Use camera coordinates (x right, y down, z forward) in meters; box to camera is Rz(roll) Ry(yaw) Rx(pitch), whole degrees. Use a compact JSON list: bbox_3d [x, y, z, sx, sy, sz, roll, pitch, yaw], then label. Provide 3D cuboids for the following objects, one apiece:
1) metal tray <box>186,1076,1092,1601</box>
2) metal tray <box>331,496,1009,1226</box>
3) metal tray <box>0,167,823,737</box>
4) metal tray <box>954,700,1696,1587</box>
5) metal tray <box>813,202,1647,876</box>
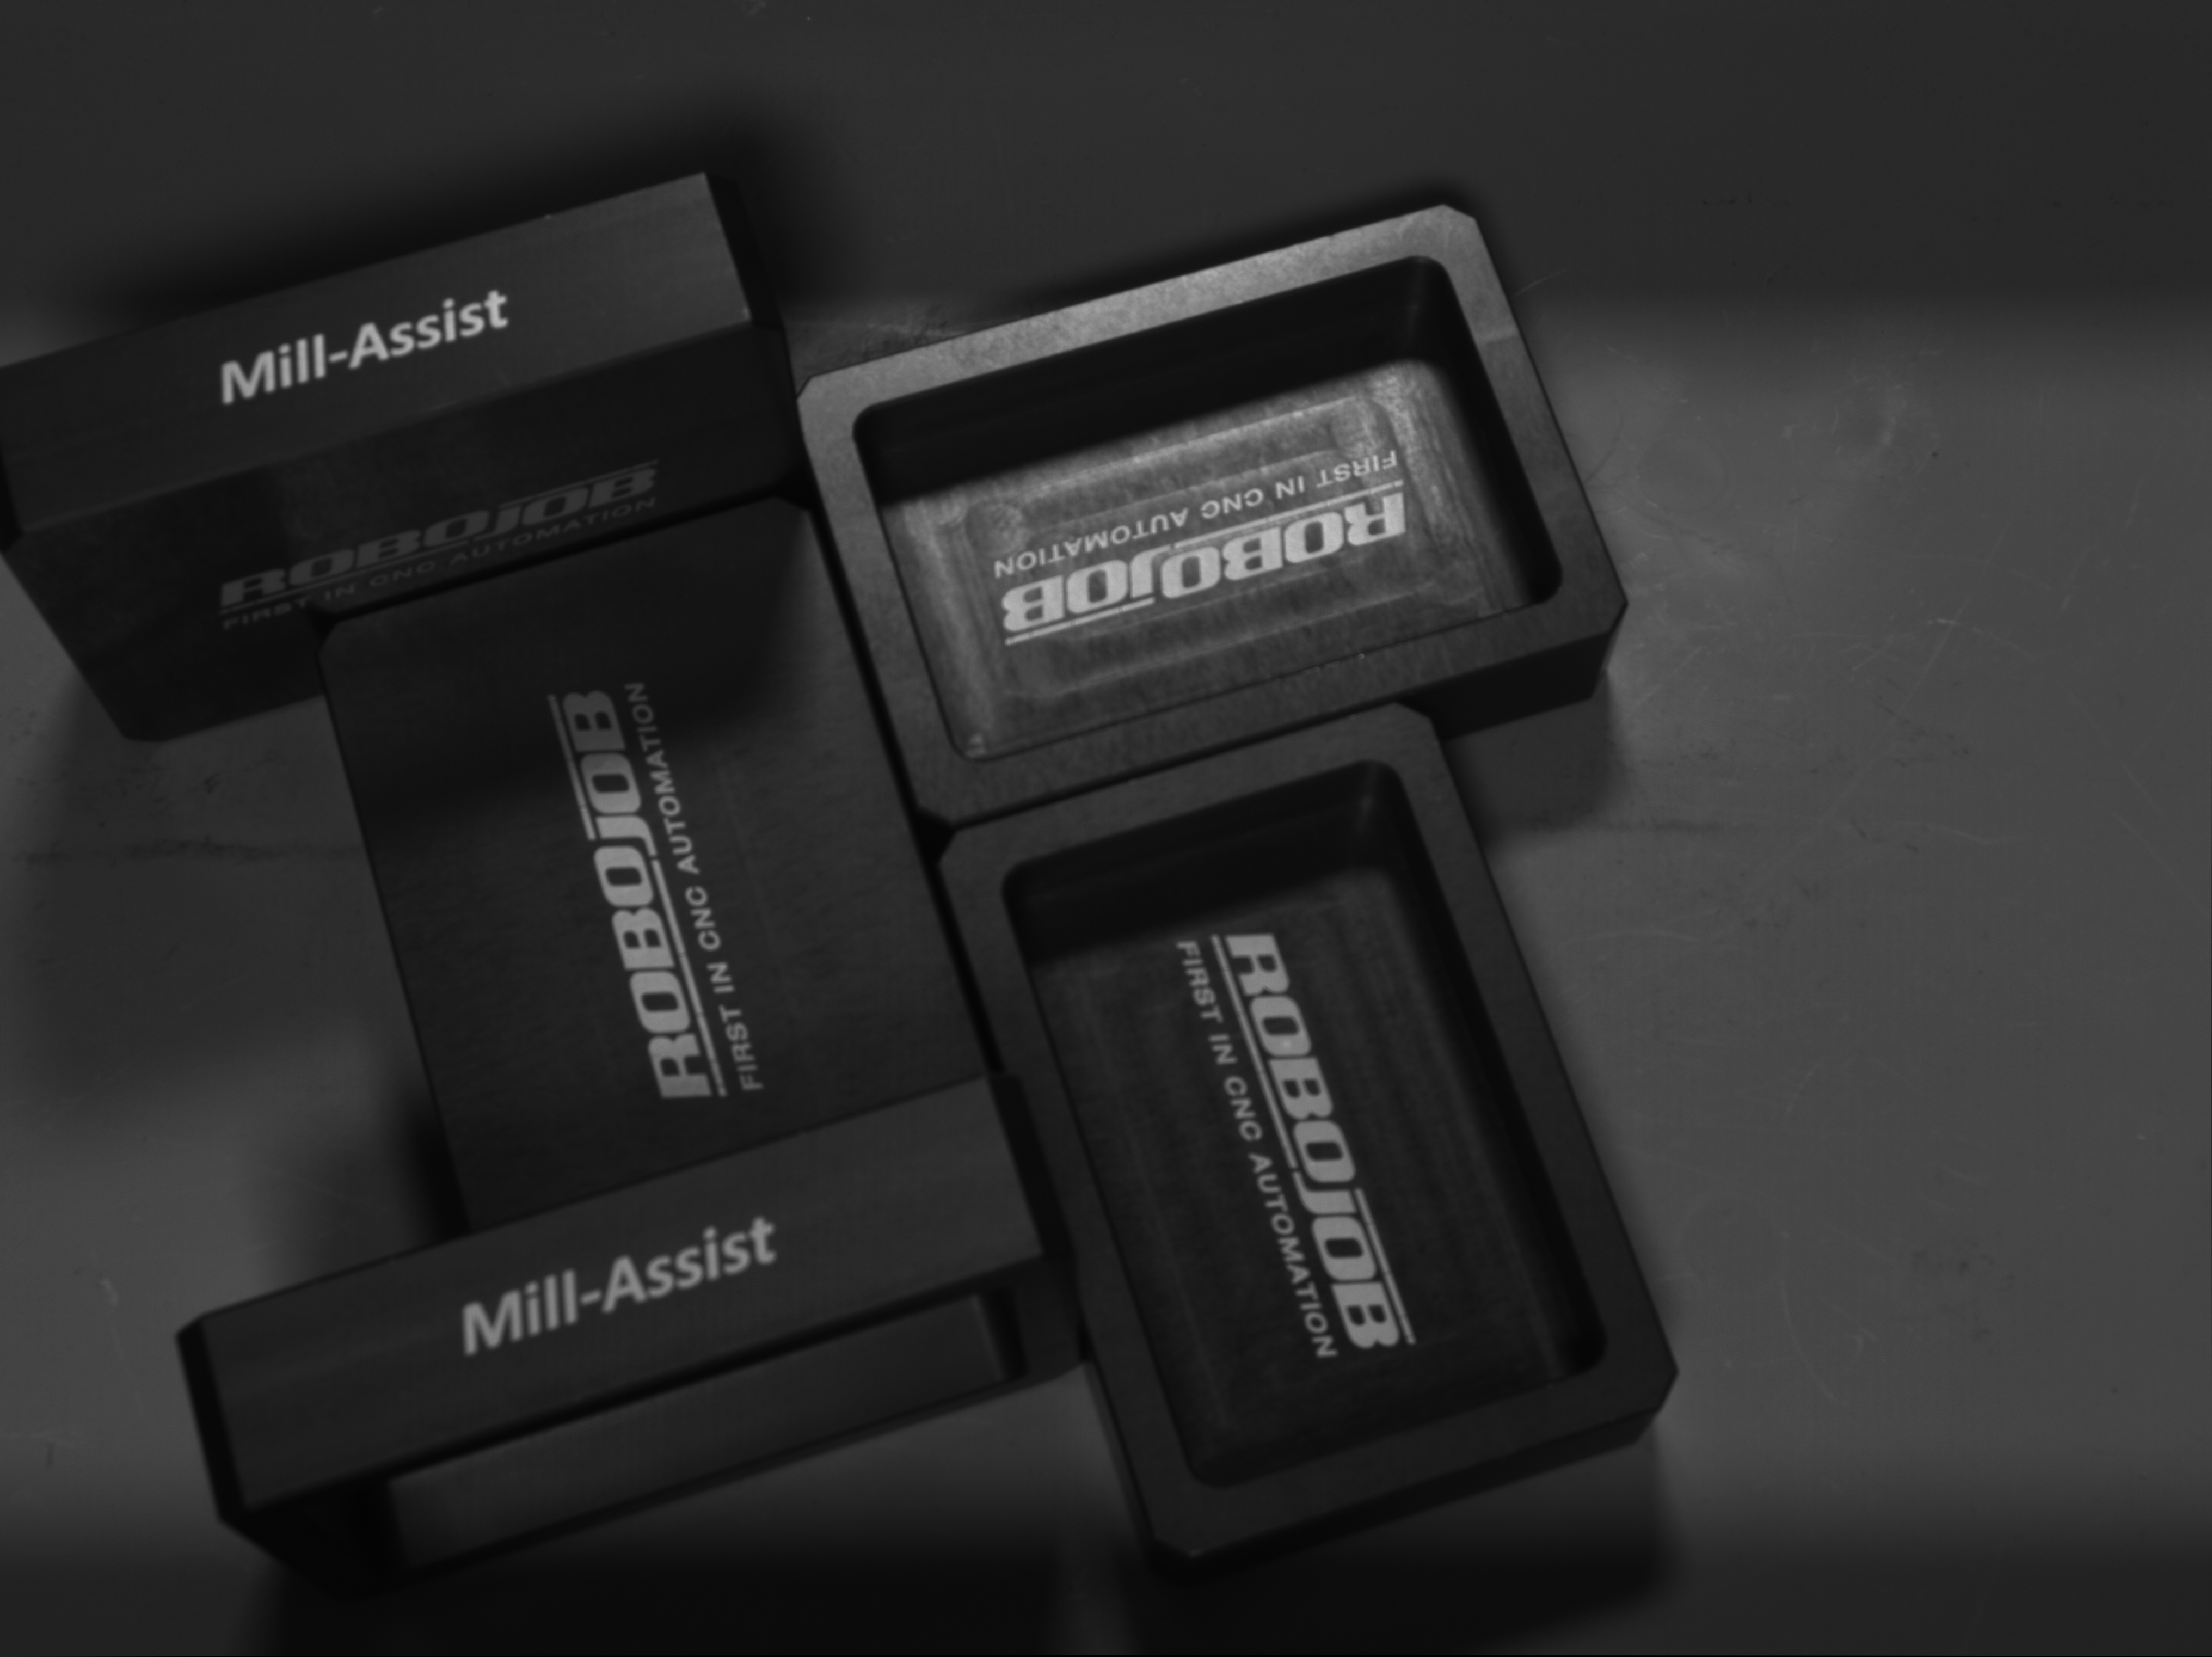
[{"bbox_3d":[-0.069,0.082,0.577,0.130,0.090,0.030,-16,71,-6],"label":"metal tray"},{"bbox_3d":[-0.074,0.016,0.634,0.090,0.030,0.130,-16,71,-6],"label":"metal tray"},{"bbox_3d":[-0.117,-0.062,0.630,0.130,0.090,0.030,-17,71,-6],"label":"metal tray"},{"bbox_3d":[0.035,0.052,0.622,0.090,0.030,0.130,-16,71,-6],"label":"metal tray"},{"bbox_3d":[0.021,-0.052,0.660,0.130,0.030,0.090,-16,71,-6],"label":"metal tray"}]
